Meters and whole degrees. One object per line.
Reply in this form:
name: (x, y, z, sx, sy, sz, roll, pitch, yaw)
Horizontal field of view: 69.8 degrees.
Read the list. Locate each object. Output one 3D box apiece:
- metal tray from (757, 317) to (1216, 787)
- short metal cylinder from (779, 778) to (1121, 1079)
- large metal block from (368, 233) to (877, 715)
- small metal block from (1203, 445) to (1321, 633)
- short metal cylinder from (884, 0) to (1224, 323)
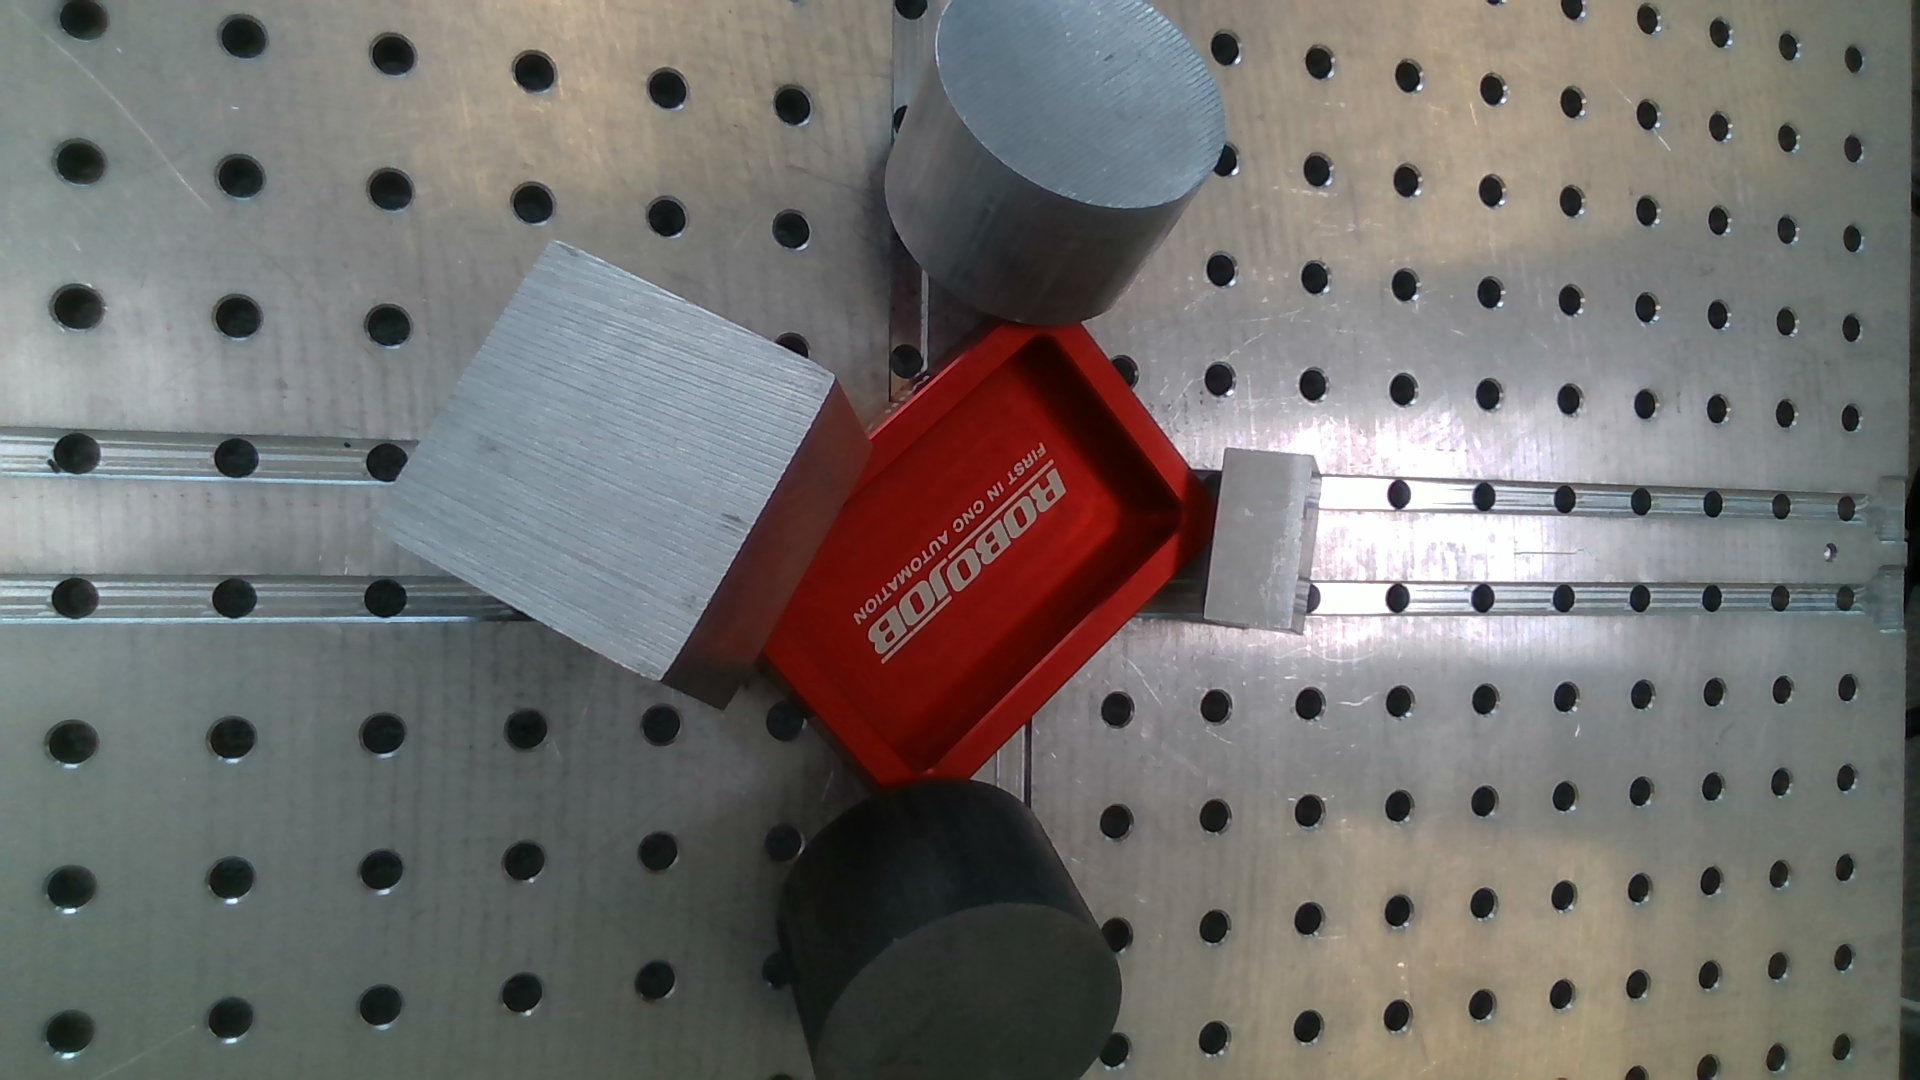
metal tray: (0.002, 0.003, 0.394, 0.130, 0.030, 0.090, -43, 104, -15)
short metal cylinder: (-0.004, 0.111, 0.366, 0.080, 0.050, 0.080, -8, 119, -16)
large metal block: (-0.078, -0.015, 0.336, 0.080, 0.050, 0.080, 27, 80, 13)
small metal block: (0.092, 0.001, 0.414, 0.025, 0.050, 0.050, 7, 87, 18)
short metal cylinder: (0.024, -0.107, 0.376, 0.080, 0.050, 0.080, 8, 62, -16)
